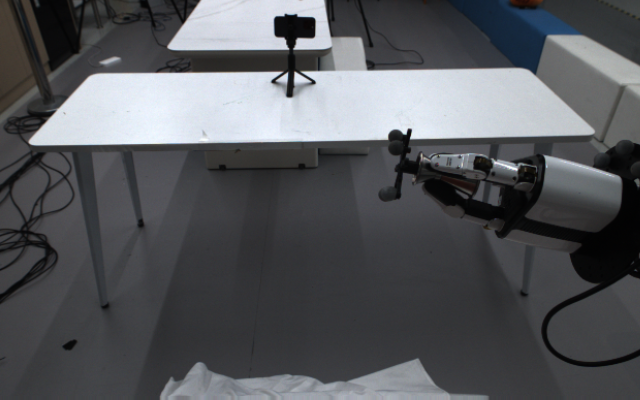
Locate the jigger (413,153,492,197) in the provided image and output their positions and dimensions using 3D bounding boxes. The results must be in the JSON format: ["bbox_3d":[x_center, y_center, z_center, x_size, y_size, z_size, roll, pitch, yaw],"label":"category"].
[{"bbox_3d":[0.149,-0.032,0.551,0.071,0.043,0.043,11,35,2],"label":"jigger"}]
